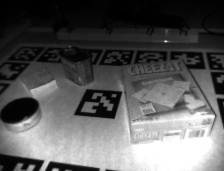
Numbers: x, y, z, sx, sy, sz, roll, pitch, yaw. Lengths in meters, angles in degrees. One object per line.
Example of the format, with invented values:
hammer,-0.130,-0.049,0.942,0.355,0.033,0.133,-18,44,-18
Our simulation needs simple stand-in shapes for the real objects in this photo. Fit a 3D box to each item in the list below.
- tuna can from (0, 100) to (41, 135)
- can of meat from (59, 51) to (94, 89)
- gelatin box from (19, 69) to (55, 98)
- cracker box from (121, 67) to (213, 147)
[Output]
tuna can,-0.217,0.075,0.516,0.085,0.034,0.085,-4,40,4
can of meat,-0.103,-0.046,0.639,0.100,0.084,0.058,25,46,35
gelatin box,-0.220,-0.010,0.635,0.074,0.030,0.088,-25,44,-29
cracker box,0.113,0.035,0.517,0.164,0.072,0.212,-5,36,-3
